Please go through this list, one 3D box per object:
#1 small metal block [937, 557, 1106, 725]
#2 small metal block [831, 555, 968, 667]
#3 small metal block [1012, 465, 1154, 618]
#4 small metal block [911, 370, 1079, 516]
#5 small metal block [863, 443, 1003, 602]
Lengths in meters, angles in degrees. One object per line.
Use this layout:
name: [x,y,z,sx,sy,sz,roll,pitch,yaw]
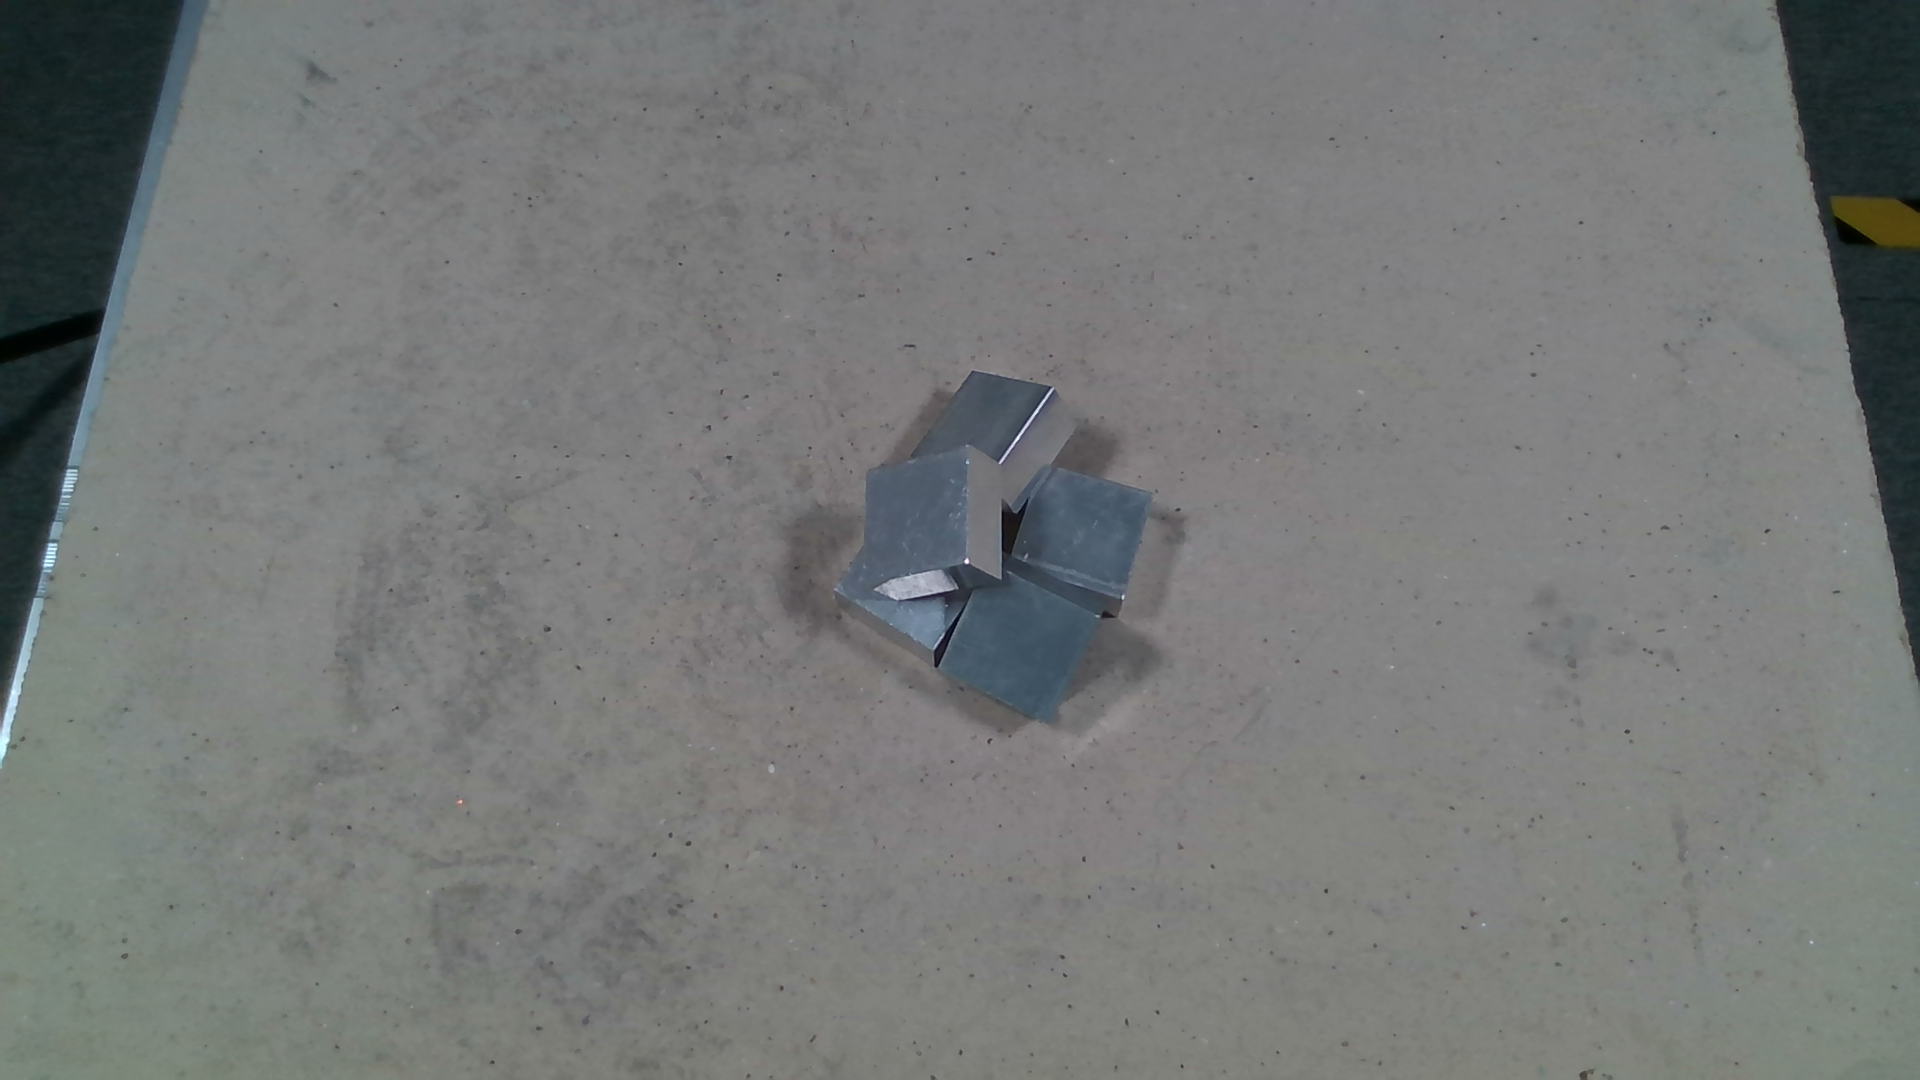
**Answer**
small metal block: [0.026,0.039,0.562,0.050,0.025,0.050,26,106,9]
small metal block: [-0.019,0.017,0.582,0.050,0.025,0.050,31,73,10]
small metal block: [0.051,0.000,0.589,0.050,0.025,0.050,16,71,6]
small metal block: [0.015,-0.043,0.591,0.050,0.025,0.050,18,68,45]
small metal block: [-0.011,-0.006,0.552,0.050,0.025,0.050,-12,67,30]
